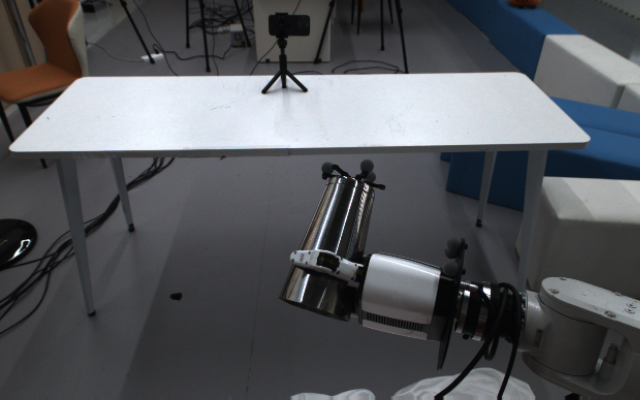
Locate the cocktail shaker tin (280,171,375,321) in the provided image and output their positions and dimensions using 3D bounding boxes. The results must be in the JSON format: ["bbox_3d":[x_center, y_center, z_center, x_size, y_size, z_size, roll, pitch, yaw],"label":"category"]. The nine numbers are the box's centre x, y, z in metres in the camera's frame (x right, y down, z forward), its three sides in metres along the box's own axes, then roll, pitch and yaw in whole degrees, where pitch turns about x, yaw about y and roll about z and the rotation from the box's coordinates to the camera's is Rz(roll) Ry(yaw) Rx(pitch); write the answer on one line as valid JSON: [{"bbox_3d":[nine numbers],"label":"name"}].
[{"bbox_3d":[0.016,0.060,0.623,0.093,0.093,0.170,14,73,16],"label":"cocktail shaker tin"}]
